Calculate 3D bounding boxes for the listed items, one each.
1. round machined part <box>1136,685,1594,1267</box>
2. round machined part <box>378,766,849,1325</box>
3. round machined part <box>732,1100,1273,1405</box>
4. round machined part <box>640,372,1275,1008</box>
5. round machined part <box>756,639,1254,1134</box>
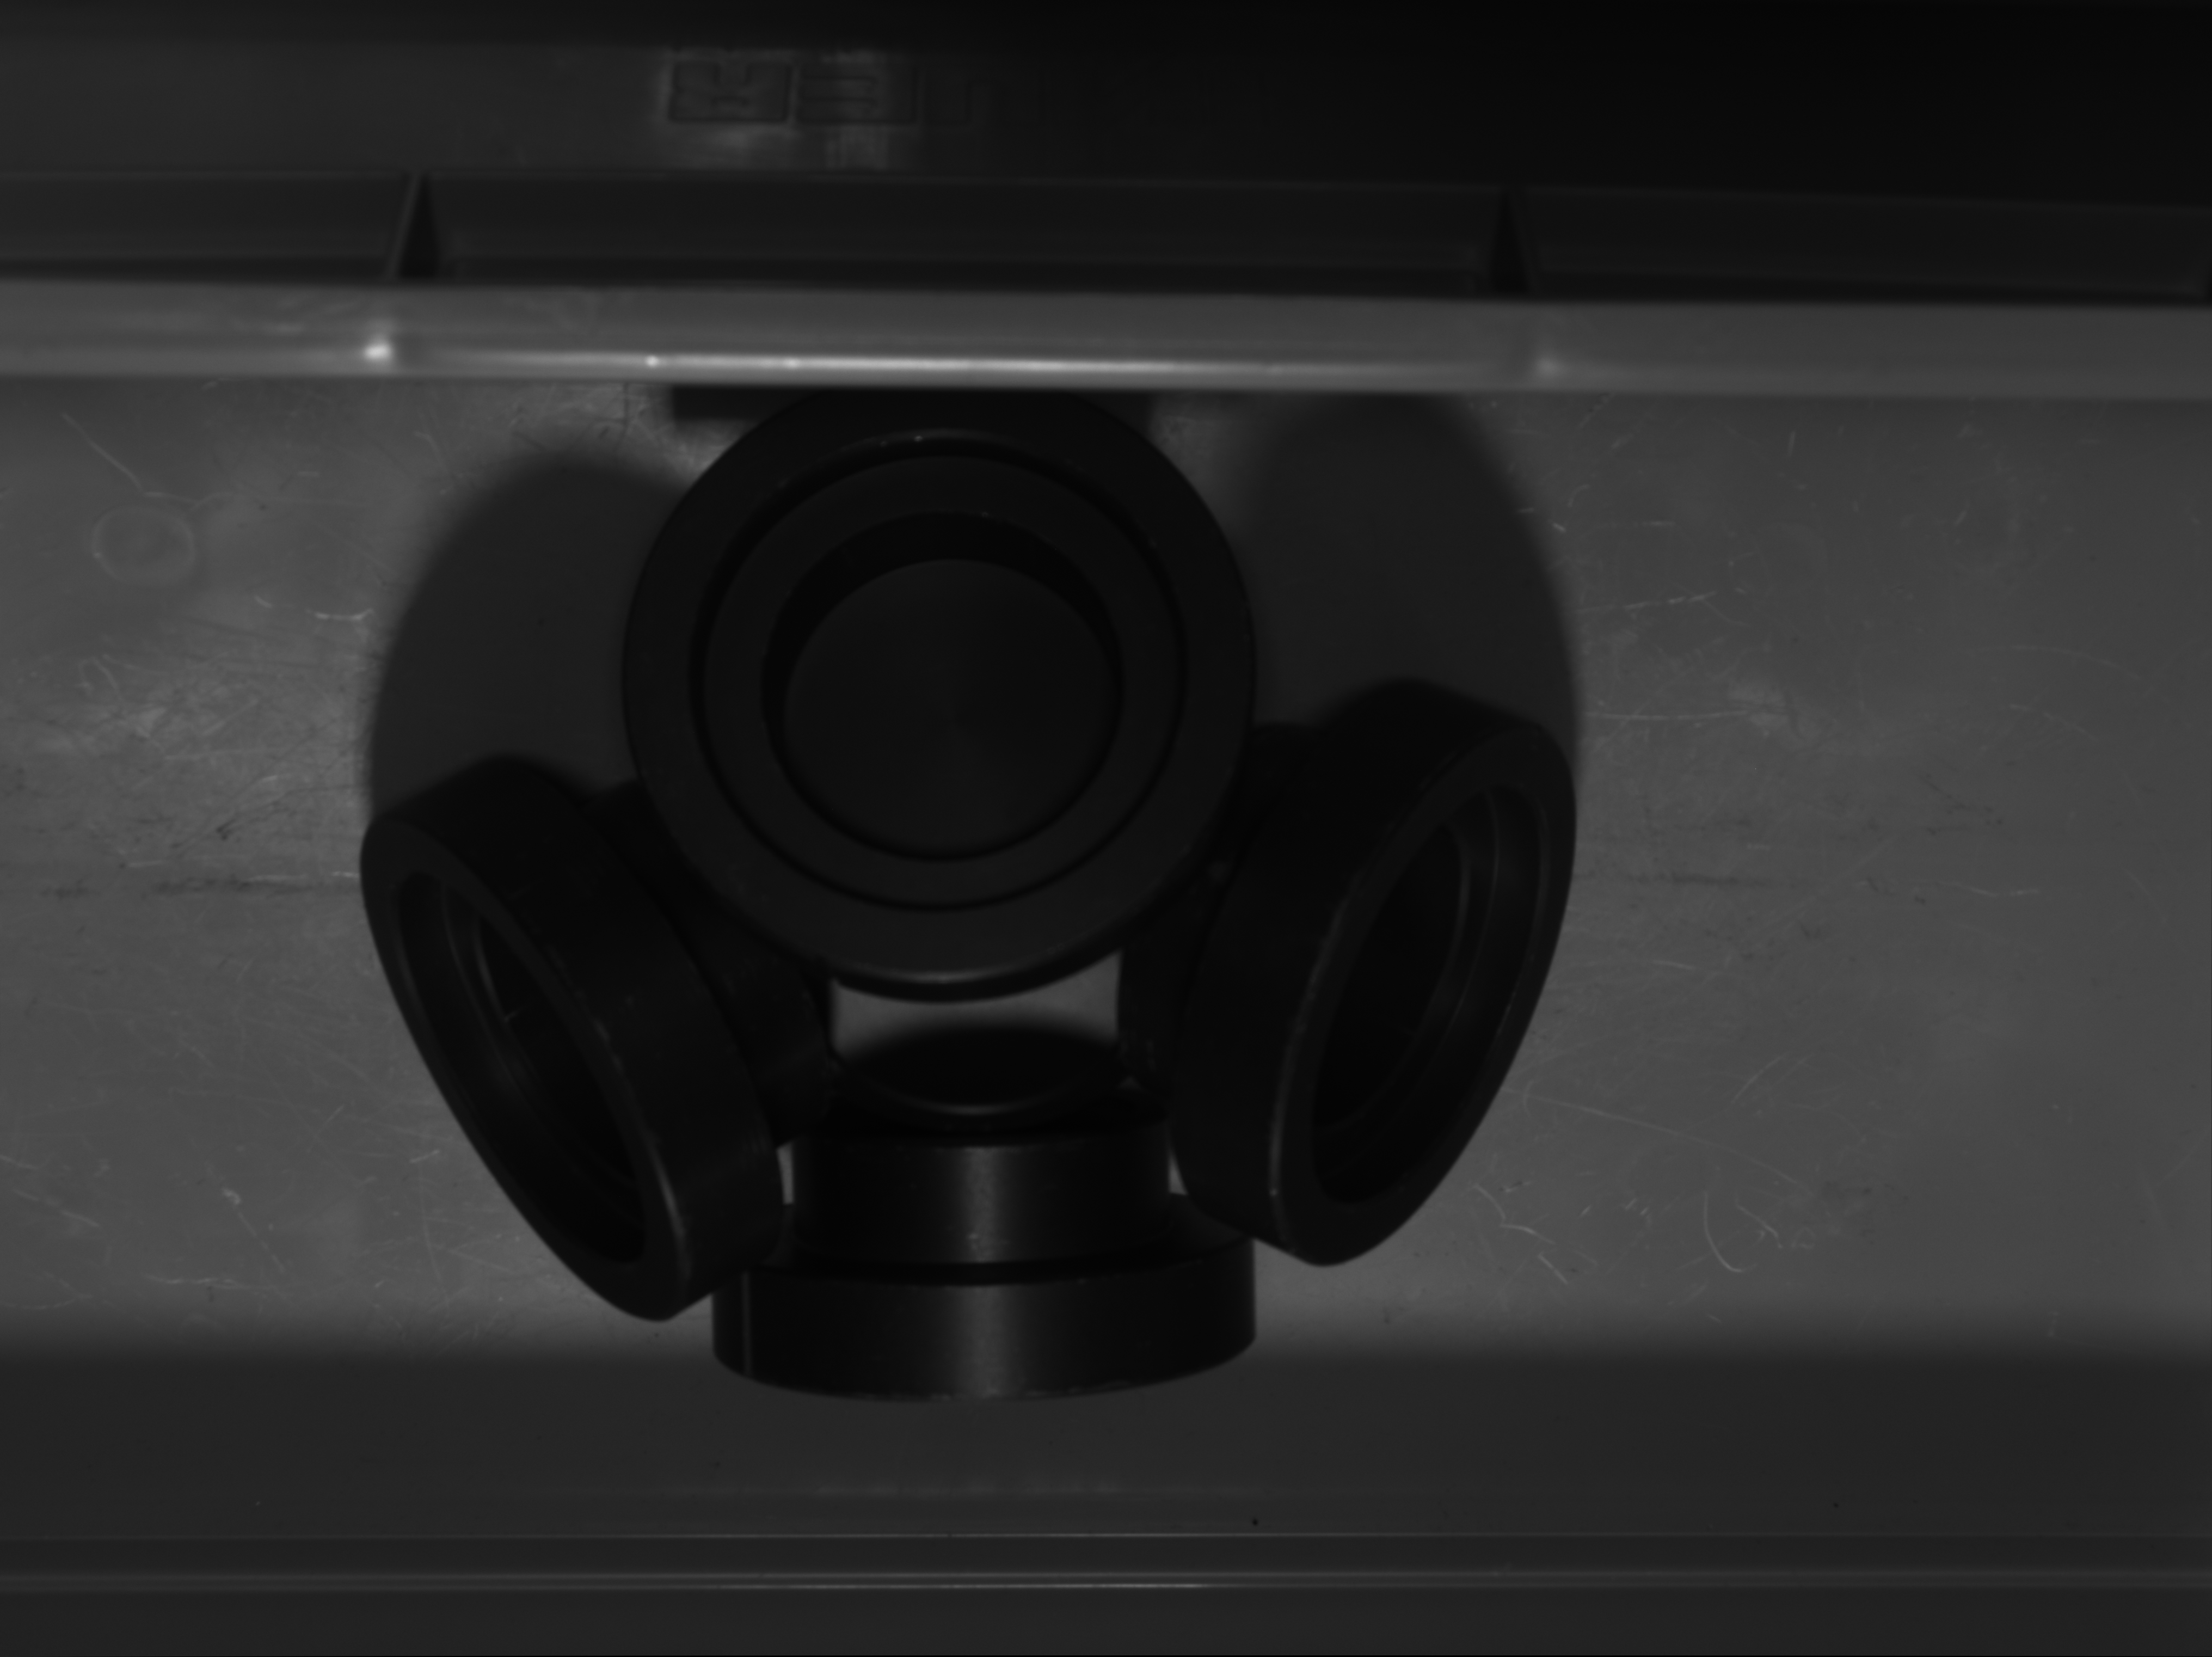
[{"bbox_3d":[0.041,0.022,0.622,0.042,0.098,0.098,23,136,27],"label":"round machined part"},{"bbox_3d":[-0.080,0.033,0.626,0.042,0.098,0.098,-30,135,-26],"label":"round machined part"},{"bbox_3d":[-0.019,0.073,0.661,0.098,0.098,0.042,-1,94,-1],"label":"round machined part"},{"bbox_3d":[-0.022,-0.020,0.584,0.098,0.098,0.042,-3,168,1],"label":"round machined part"},{"bbox_3d":[-0.020,0.015,0.637,0.098,0.042,0.098,-1,130,-1],"label":"round machined part"}]
